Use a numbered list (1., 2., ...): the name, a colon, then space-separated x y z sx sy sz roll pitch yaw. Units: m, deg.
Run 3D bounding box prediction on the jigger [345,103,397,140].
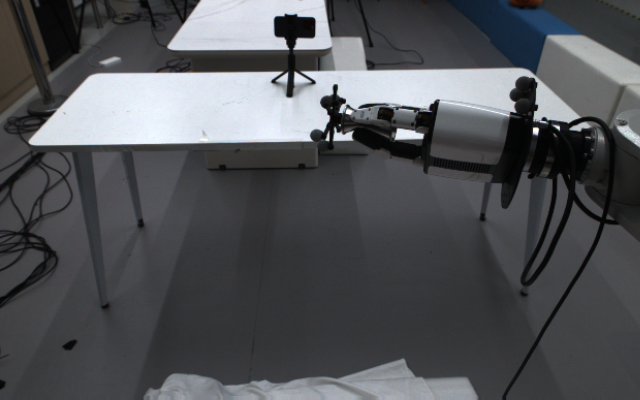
1. jigger: 0.072 -0.107 0.638 0.071 0.043 0.043 9 35 17
